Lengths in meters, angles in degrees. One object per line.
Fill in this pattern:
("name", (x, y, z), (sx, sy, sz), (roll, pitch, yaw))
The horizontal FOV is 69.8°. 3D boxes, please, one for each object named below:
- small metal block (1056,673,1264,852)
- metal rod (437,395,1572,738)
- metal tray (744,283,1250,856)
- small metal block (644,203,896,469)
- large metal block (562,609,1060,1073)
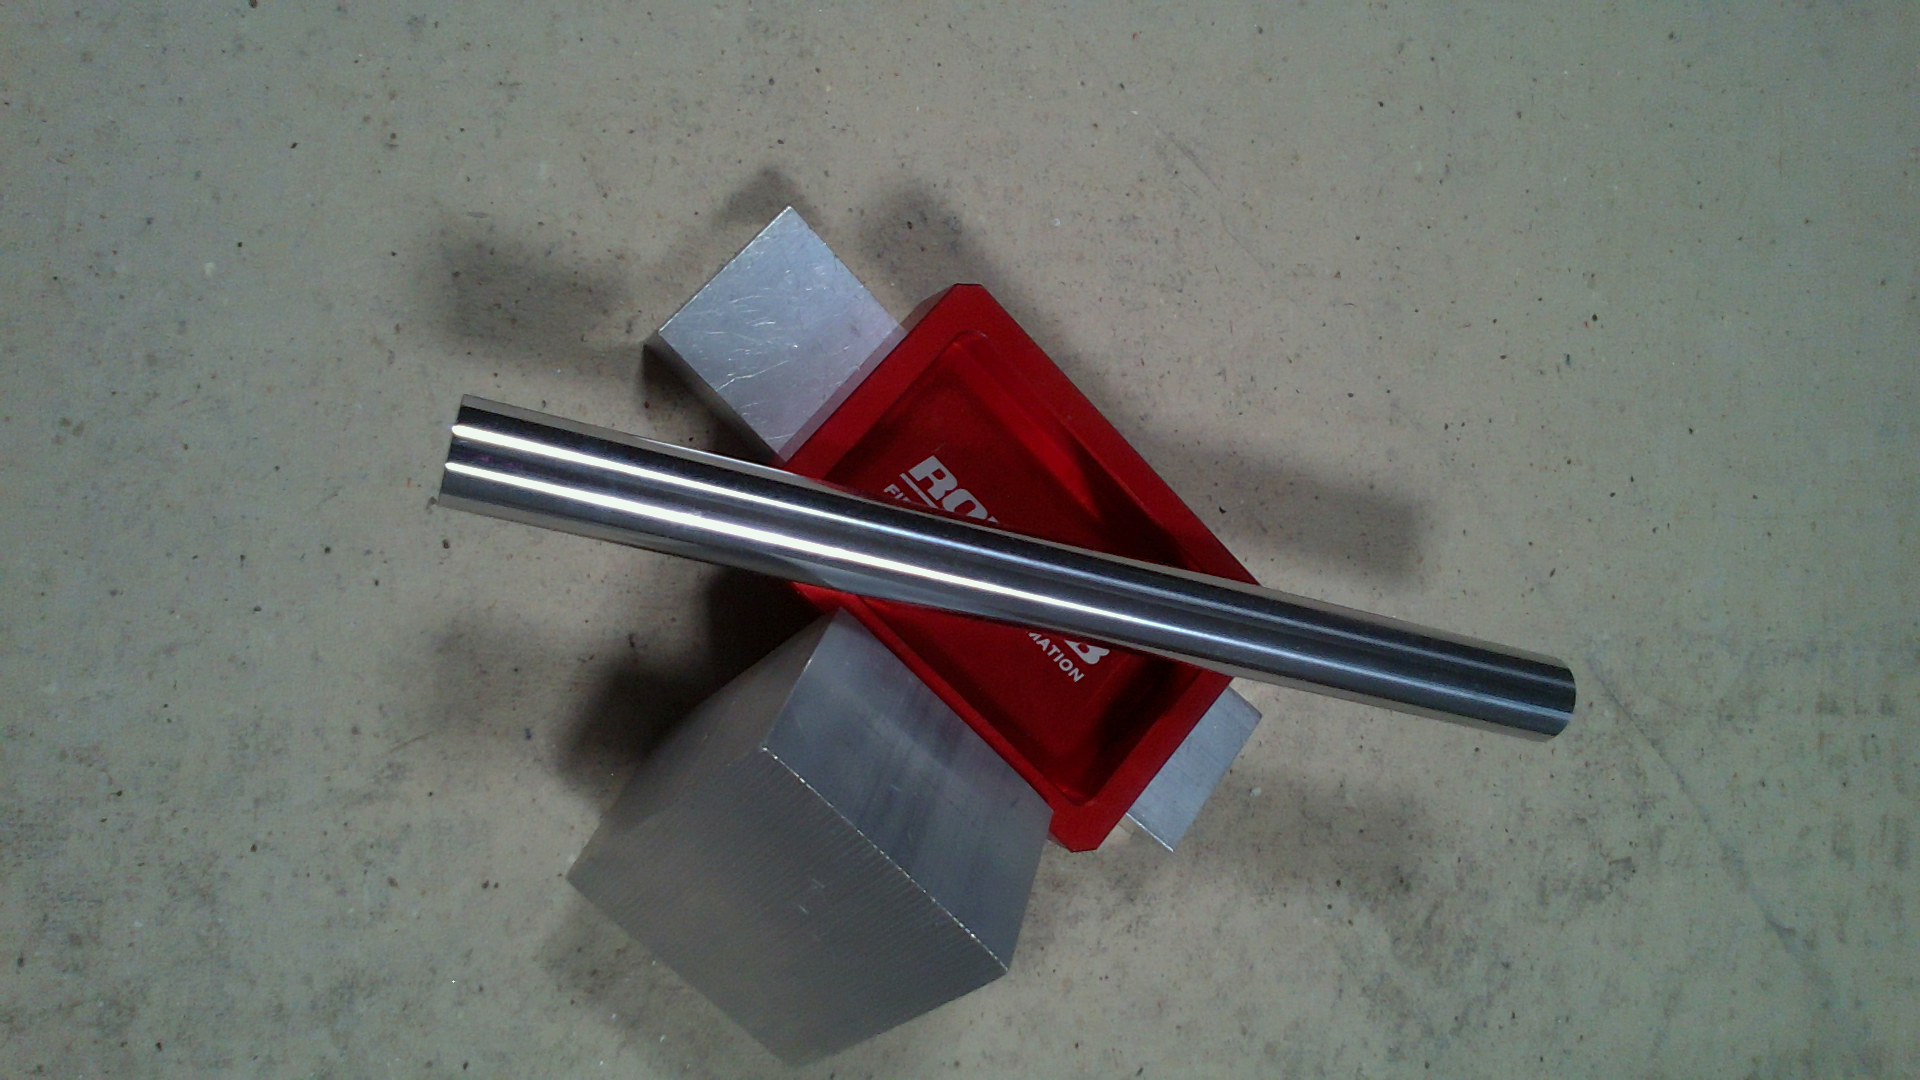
("small metal block", (0.054, 0.056, 0.413), (0.050, 0.025, 0.050), (40, 77, -16))
("metal rod", (0.029, 0.013, 0.345), (0.301, 0.025, 0.025), (13, 86, -20))
("metal tray", (0.013, 0.009, 0.368), (0.130, 0.030, 0.090), (45, 76, -14))
("small metal block", (-0.049, -0.054, 0.375), (0.050, 0.025, 0.050), (46, 76, -14))
("large metal block", (-0.036, 0.077, 0.343), (0.080, 0.080, 0.050), (45, 35, -14))
